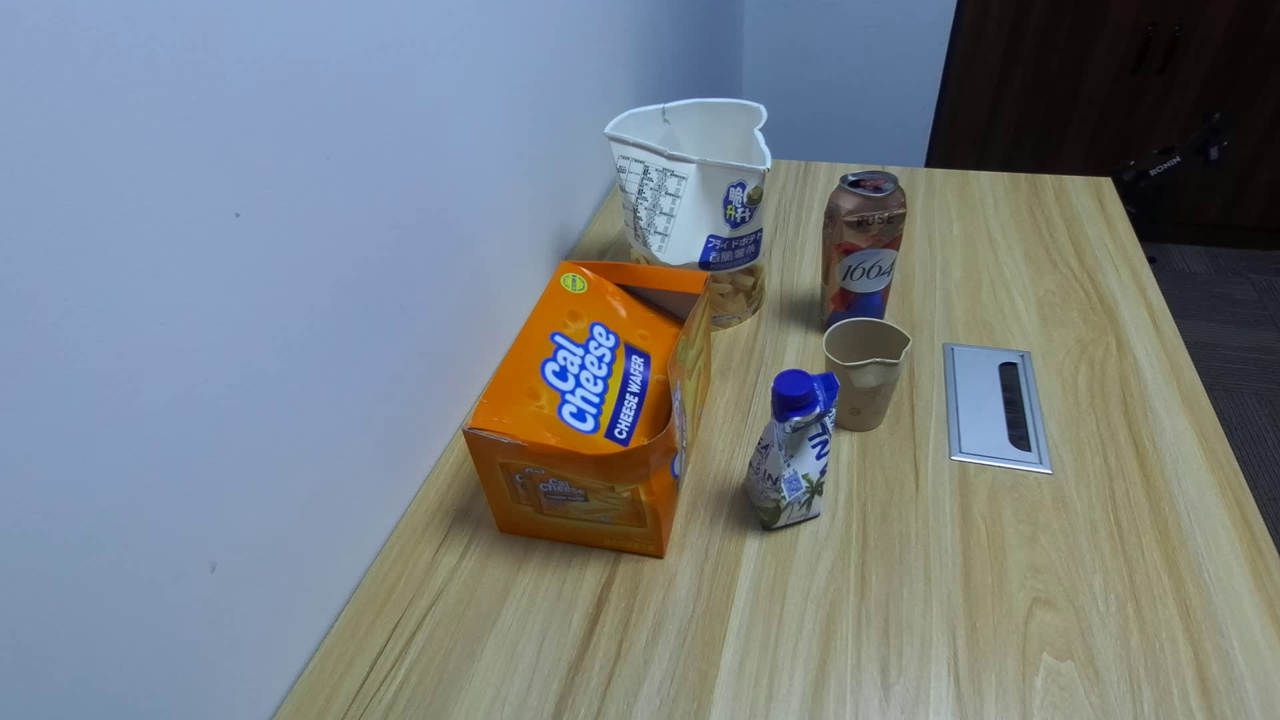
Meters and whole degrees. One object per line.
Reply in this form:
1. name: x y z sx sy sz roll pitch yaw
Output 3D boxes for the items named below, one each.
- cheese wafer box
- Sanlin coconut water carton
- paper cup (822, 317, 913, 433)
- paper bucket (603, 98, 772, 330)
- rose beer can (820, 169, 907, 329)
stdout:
1. cheese wafer box: -0.026 0.035 0.606 0.152 0.132 0.230 8 42 13
2. Sanlin coconut water carton: 0.123 0.068 0.540 0.068 0.145 0.056 -8 46 -15
3. paper cup: 0.197 0.016 0.635 0.068 0.081 0.073 19 44 27
4. paper bucket: 0.053 -0.150 0.758 0.162 0.202 0.169 -1 38 7
5. rose beer can: 0.222 -0.104 0.713 0.076 0.167 0.065 -2 37 8
